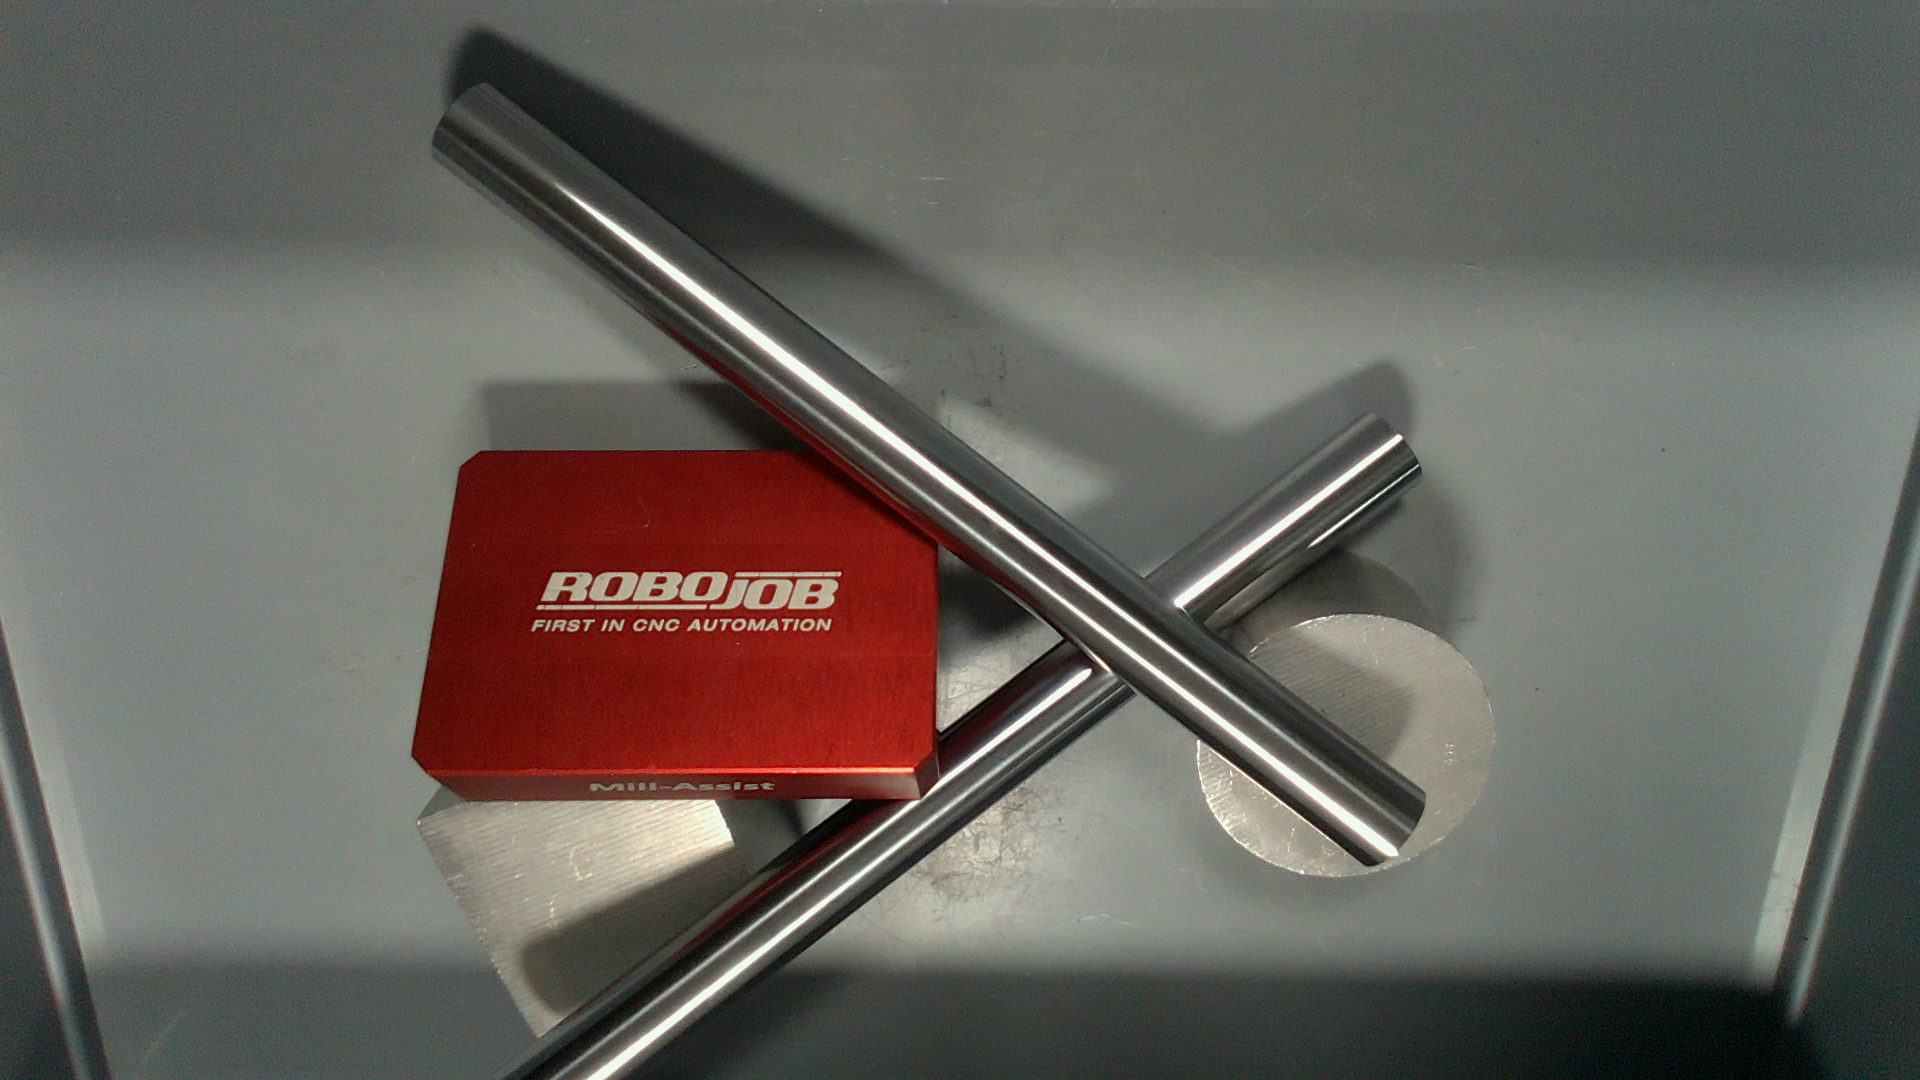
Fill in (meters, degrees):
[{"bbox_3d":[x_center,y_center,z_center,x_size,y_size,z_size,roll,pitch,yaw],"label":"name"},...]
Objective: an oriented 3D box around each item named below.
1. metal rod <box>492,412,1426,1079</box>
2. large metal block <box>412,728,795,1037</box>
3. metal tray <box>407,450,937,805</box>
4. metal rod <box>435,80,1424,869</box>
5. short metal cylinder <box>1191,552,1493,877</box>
[{"bbox_3d":[0.001,0.065,0.377,0.300,0.025,0.025,-37,107,-2],"label":"metal rod"},{"bbox_3d":[-0.099,0.092,0.410,0.080,0.050,0.080,-18,109,6],"label":"large metal block"},{"bbox_3d":[-0.071,0.023,0.369,0.130,0.030,0.090,1,66,1],"label":"metal tray"},{"bbox_3d":[-0.008,-0.017,0.355,0.300,0.025,0.025,38,106,0],"label":"metal rod"},{"bbox_3d":[0.105,0.049,0.397,0.080,0.050,0.080,0,110,0],"label":"short metal cylinder"}]
